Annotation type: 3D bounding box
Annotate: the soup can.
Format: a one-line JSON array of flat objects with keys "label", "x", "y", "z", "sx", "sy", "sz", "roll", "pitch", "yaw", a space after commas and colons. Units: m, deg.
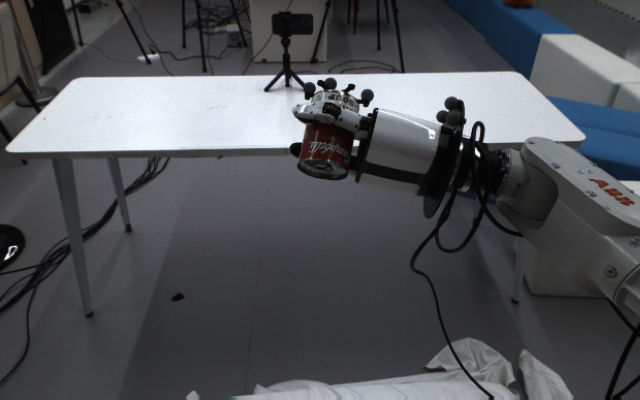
[{"label": "soup can", "x": 0.013, "y": -0.085, "z": 0.637, "sx": 0.067, "sy": 0.067, "sz": 0.101, "roll": 8, "pitch": 72, "yaw": 9}]
